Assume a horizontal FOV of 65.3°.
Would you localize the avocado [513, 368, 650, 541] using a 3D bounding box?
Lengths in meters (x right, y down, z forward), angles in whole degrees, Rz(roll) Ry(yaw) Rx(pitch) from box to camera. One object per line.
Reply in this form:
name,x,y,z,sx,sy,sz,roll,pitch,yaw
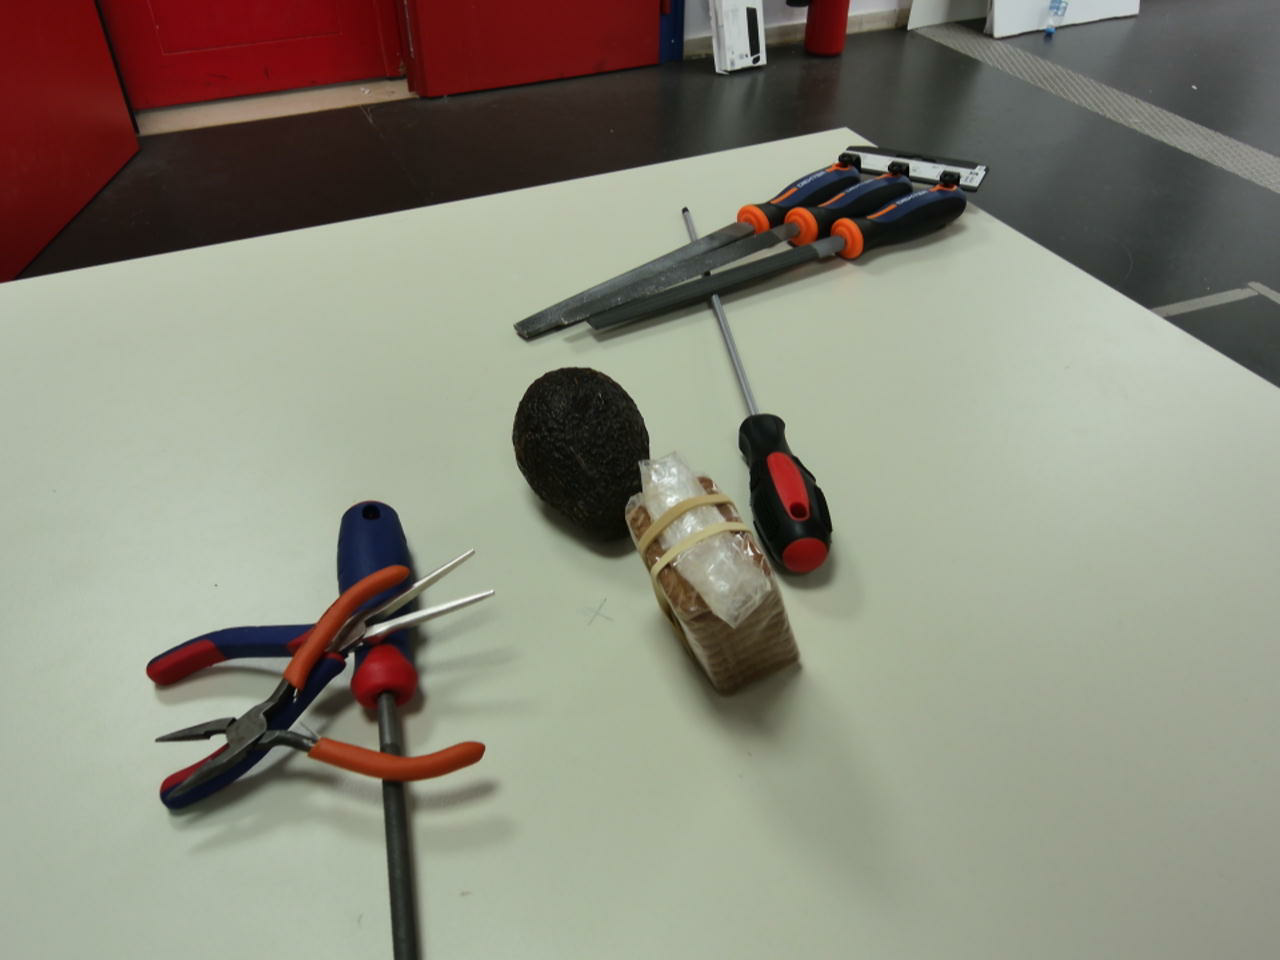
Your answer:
avocado,-0.030,-0.017,0.508,0.070,0.069,0.090,0,38,-1
